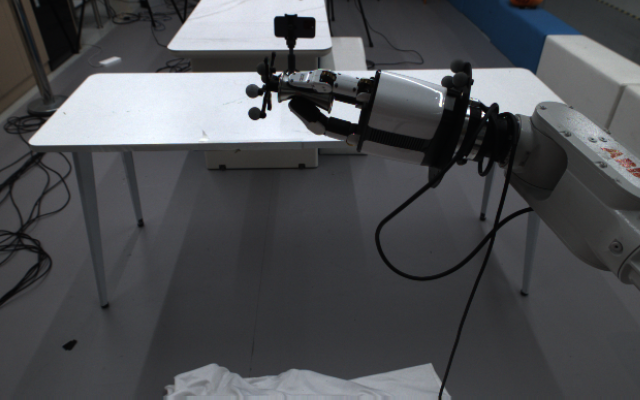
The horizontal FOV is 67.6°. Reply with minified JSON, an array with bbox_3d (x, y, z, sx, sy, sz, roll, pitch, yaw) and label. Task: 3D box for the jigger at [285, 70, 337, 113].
[{"bbox_3d":[-0.010,-0.143,0.620,0.071,0.043,0.043,11,35,3],"label":"jigger"}]
